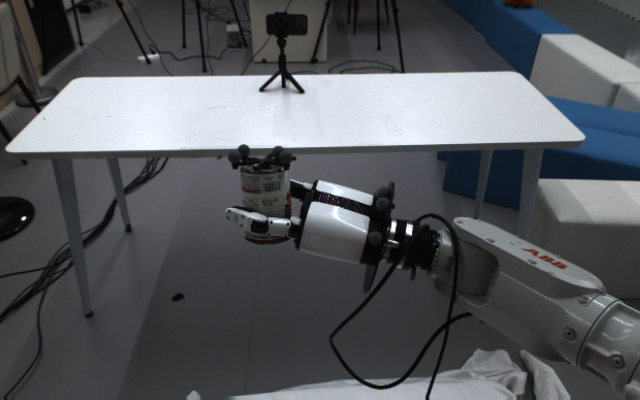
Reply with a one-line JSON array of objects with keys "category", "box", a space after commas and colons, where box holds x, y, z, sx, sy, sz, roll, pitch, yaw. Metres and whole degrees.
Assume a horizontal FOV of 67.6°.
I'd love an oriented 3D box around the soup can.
[{"category": "soup can", "box": [-0.071, 0.003, 0.660, 0.067, 0.101, 0.067, -2, 17, 0]}]
